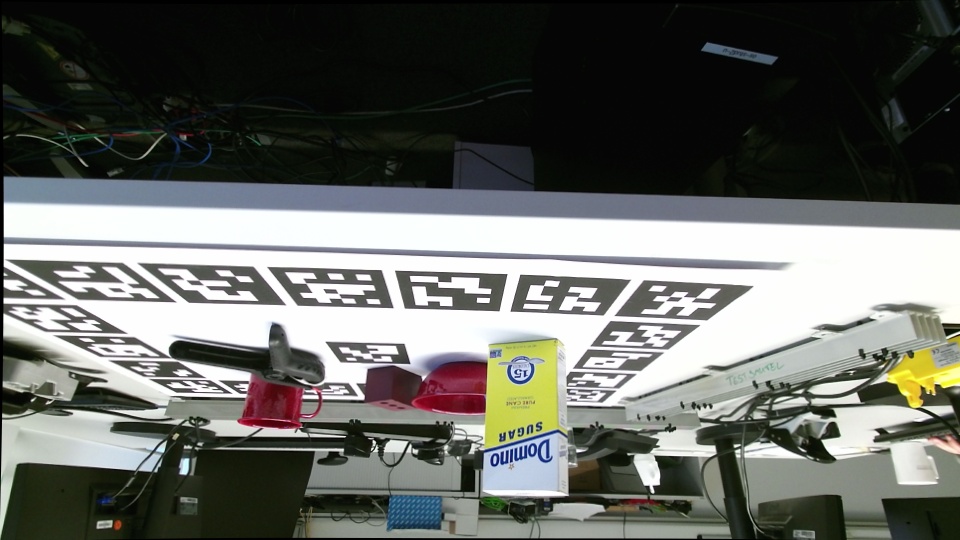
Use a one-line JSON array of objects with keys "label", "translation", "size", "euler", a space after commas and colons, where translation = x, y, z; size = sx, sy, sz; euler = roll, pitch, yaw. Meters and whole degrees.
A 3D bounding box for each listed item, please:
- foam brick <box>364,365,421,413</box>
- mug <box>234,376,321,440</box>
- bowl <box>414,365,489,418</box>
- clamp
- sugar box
[{"label": "foam brick", "translation": [-0.132, 0.184, 0.813], "size": [0.053, 0.051, 0.078], "euler": [-13, 147, 22]}, {"label": "mug", "translation": [-0.303, 0.210, 0.821], "size": [0.118, 0.081, 0.093], "euler": [18, 147, -22]}, {"label": "bowl", "translation": [-0.014, 0.181, 0.788], "size": [0.162, 0.055, 0.162], "euler": [2, 151, 1]}, {"label": "clamp", "translation": [-0.266, 0.132, 0.719], "size": [0.166, 0.036, 0.203], "euler": [-12, 147, 18]}, {"label": "sugar box", "translation": [0.064, 0.170, 0.645], "size": [0.093, 0.175, 0.045], "euler": [-10, 147, 21]}]
